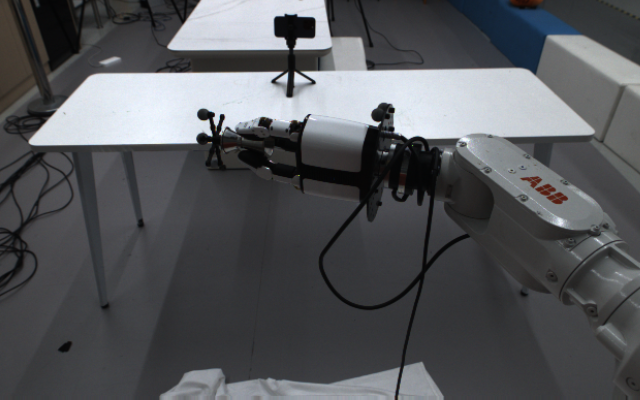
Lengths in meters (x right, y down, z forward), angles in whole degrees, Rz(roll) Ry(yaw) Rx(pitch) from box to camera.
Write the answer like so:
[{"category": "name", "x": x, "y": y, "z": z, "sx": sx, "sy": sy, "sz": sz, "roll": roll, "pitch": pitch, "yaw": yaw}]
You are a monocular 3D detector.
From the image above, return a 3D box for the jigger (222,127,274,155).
[{"category": "jigger", "x": -0.102, "y": -0.089, "z": 0.707, "sx": 0.071, "sy": 0.043, "sz": 0.043, "roll": 4, "pitch": 34, "yaw": 13}]
